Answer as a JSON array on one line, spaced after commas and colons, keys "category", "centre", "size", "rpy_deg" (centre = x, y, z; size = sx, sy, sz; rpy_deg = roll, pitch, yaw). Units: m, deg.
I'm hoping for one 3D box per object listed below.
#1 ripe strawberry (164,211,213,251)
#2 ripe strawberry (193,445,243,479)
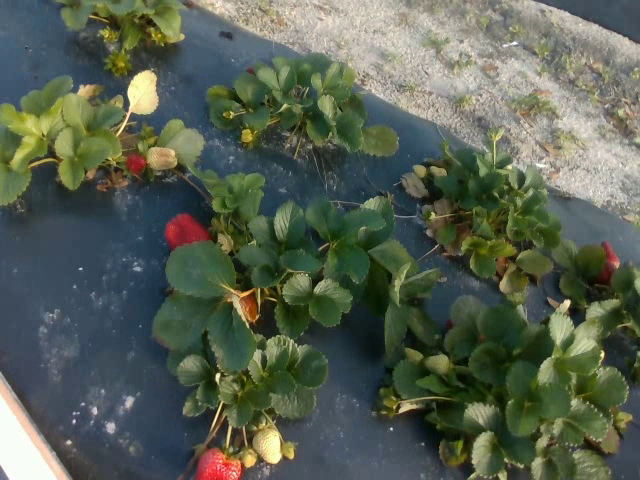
[{"category": "ripe strawberry", "centre": [-0.175, -0.004, 0.793], "size": [0.058, 0.071, 0.057], "rpy_deg": [-27, 16, -3]}, {"category": "ripe strawberry", "centre": [-0.114, 0.252, 0.651], "size": [0.047, 0.050, 0.035], "rpy_deg": [31, -12, 7]}]
